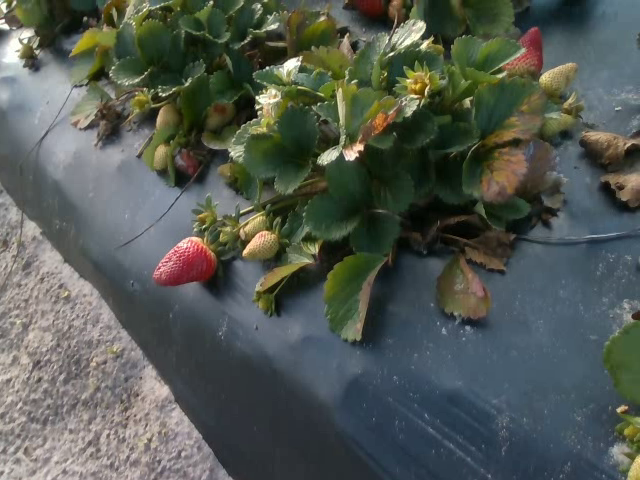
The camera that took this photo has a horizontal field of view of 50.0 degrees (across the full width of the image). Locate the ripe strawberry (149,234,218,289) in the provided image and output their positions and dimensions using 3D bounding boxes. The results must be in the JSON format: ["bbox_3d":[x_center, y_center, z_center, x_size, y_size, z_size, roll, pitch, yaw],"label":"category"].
[{"bbox_3d":[-0.144,0.025,0.709,0.067,0.045,0.052,-36,53,-20],"label":"ripe strawberry"}]
